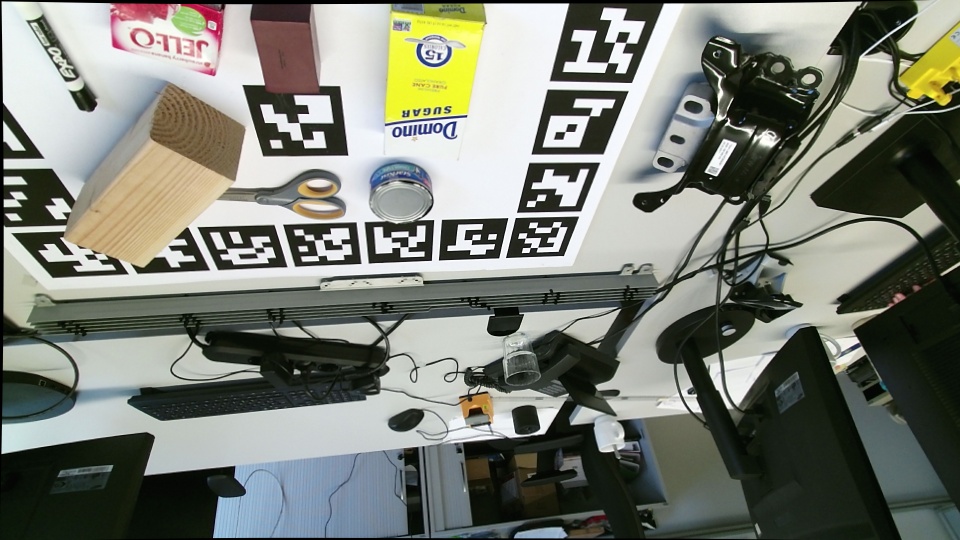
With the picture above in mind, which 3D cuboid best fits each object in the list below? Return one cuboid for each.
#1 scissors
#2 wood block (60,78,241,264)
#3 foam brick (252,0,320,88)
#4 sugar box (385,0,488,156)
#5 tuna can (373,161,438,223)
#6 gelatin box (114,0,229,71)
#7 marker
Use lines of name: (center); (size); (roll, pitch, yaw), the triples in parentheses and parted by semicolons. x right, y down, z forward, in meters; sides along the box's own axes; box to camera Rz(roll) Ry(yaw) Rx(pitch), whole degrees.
scissors: (-0.275, -0.100, 0.706); (0.204, 0.016, 0.088); (0, 142, -18)
wood block: (-0.377, -0.106, 0.614); (0.206, 0.090, 0.090); (-31, 140, 26)
foam brick: (-0.187, -0.226, 0.525); (0.053, 0.051, 0.078); (-2, 142, -13)
sugar box: (-0.056, -0.209, 0.597); (0.093, 0.045, 0.176); (0, 142, -14)
tuna can: (-0.102, -0.105, 0.725); (0.086, 0.033, 0.086); (-7, 143, -6)
gelatin box: (-0.291, -0.238, 0.506); (0.090, 0.030, 0.073); (9, 138, -26)
marker: (-0.403, -0.210, 0.519); (0.020, 0.019, 0.121); (-2, 140, -12)
